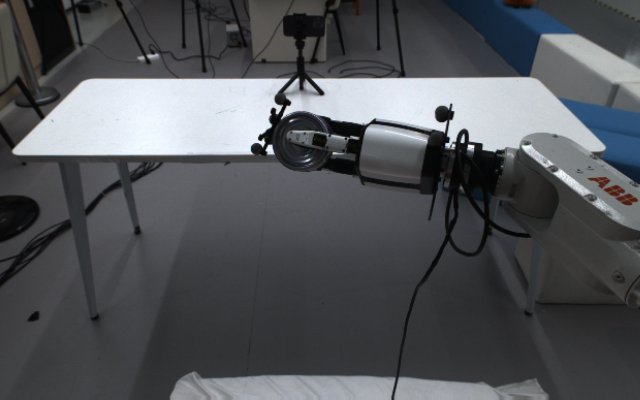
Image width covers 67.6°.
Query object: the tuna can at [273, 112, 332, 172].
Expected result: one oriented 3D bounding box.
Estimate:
[{"bbox_3d":[-0.021,-0.081,0.691,0.085,0.085,0.034,8,6,8],"label":"tuna can"}]
